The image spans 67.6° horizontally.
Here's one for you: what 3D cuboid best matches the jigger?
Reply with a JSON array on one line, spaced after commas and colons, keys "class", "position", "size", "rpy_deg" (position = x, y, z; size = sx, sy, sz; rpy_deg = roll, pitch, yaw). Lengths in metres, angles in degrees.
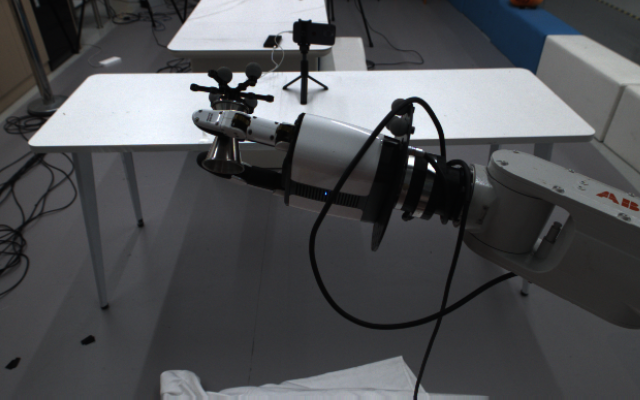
[{"class": "jigger", "position": [-0.099, -0.066, 0.514], "size": [0.043, 0.043, 0.071], "rpy_deg": [3, 75, 2]}]
